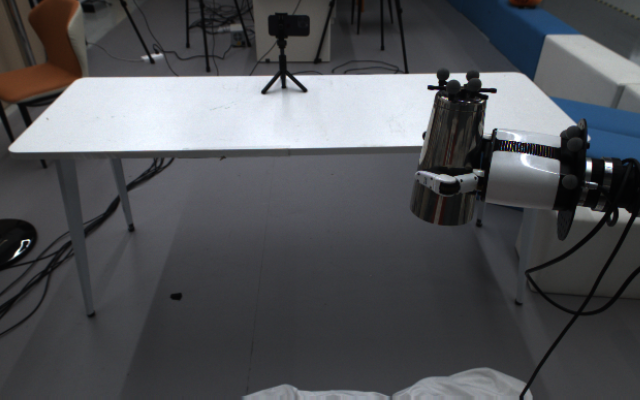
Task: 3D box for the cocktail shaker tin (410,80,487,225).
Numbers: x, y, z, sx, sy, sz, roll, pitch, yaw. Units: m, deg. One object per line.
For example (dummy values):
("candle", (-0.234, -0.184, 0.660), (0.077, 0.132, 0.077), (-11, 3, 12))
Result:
("cocktail shaker tin", (0.182, -0.062, 0.670), (0.093, 0.170, 0.093), (2, 28, -1))
